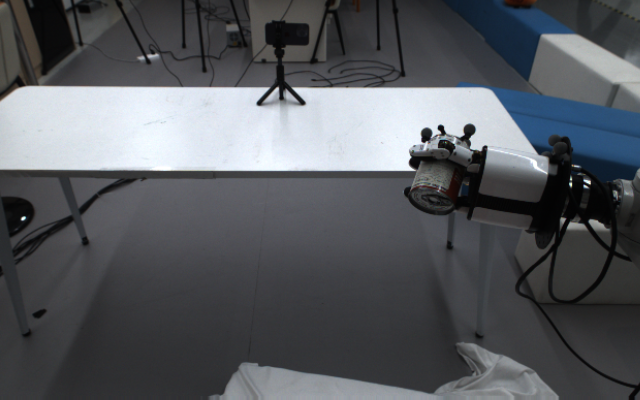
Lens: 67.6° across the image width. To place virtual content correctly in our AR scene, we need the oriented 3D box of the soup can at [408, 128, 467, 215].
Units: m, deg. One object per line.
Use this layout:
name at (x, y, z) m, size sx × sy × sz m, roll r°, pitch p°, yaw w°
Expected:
soup can at (0.176, -0.041, 0.712) m, size 0.067 × 0.067 × 0.101 m, roll 15°, pitch 63°, yaw 18°
